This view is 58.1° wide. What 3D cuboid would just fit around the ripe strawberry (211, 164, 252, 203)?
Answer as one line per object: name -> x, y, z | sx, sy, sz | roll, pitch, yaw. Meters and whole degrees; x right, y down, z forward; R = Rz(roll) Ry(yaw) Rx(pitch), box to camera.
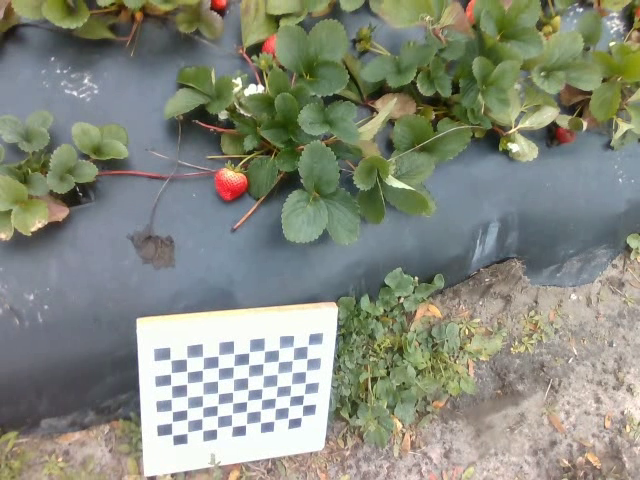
ripe strawberry -> -0.155, -0.096, 0.978 | 0.061, 0.064, 0.049 | 7, 15, -23
